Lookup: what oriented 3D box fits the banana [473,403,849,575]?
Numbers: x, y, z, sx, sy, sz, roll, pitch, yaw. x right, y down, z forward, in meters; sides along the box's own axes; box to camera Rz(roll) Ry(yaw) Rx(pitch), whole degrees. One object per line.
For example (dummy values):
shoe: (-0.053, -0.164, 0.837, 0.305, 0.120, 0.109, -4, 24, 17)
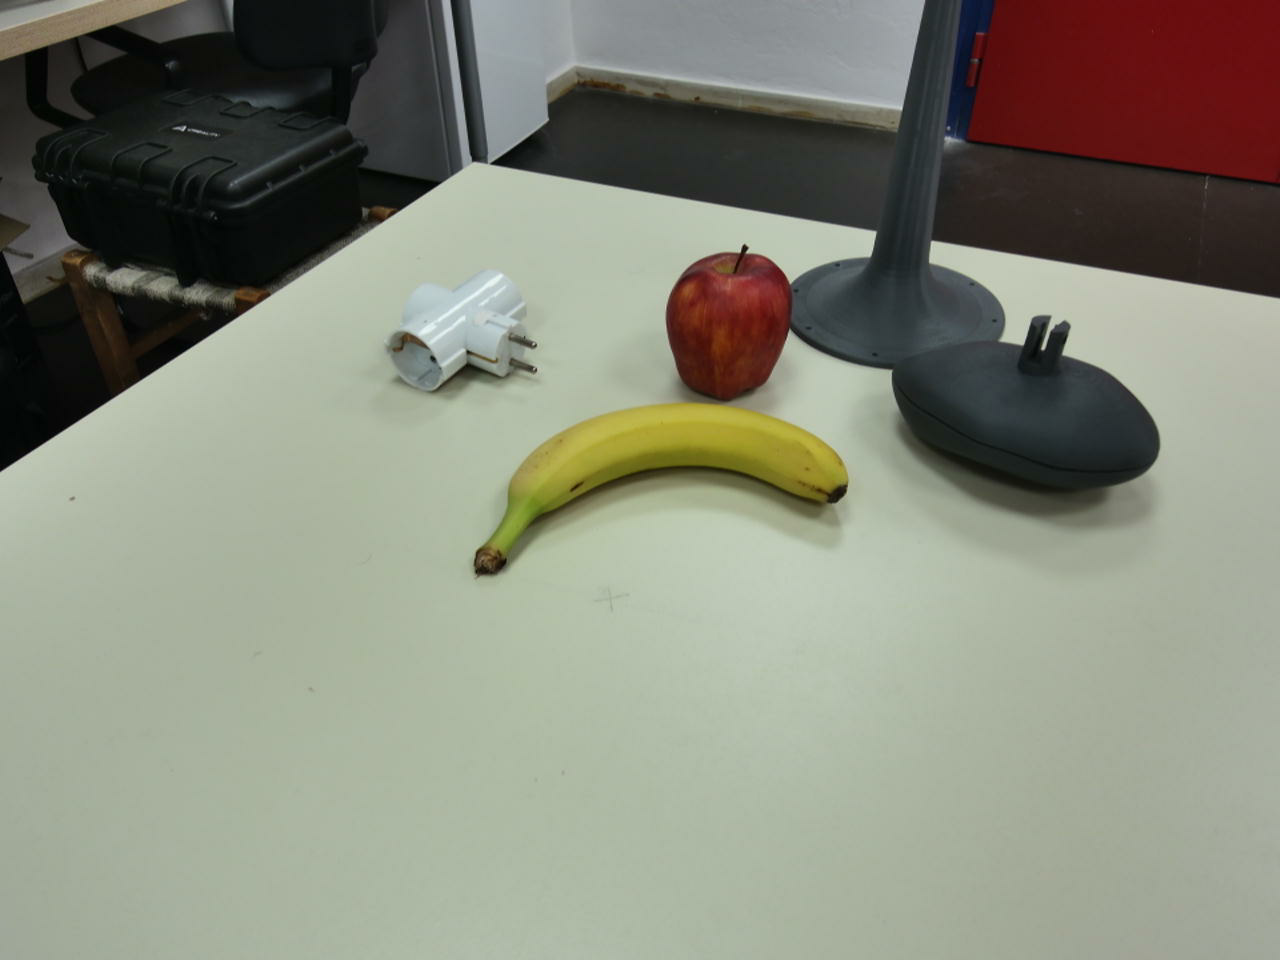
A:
banana: (0.005, -0.006, 0.538, 0.196, 0.041, 0.094, -7, 38, -8)
